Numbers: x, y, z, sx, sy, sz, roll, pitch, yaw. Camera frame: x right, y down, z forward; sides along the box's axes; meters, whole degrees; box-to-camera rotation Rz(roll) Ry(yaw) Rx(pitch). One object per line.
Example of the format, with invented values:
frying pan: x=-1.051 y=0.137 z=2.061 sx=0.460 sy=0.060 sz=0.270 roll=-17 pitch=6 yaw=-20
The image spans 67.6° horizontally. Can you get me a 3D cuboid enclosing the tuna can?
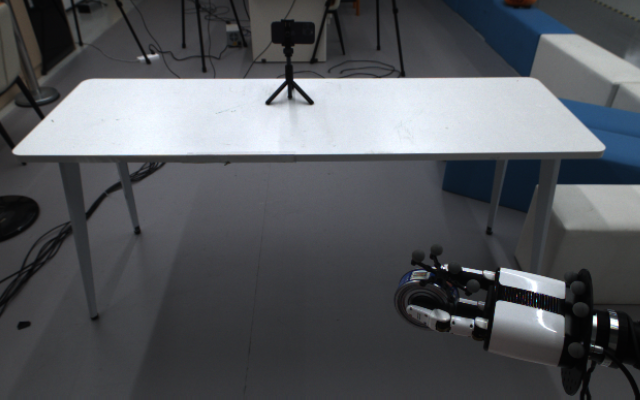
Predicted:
tuna can: x=0.150 y=0.137 z=0.672 sx=0.085 sy=0.085 sz=0.034 roll=15 pitch=31 yaw=18
